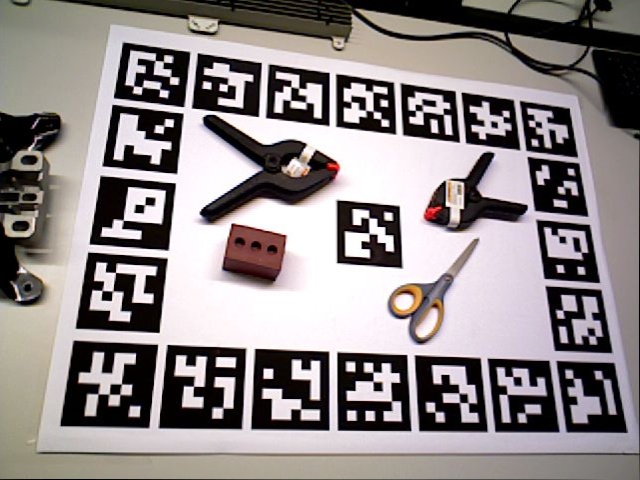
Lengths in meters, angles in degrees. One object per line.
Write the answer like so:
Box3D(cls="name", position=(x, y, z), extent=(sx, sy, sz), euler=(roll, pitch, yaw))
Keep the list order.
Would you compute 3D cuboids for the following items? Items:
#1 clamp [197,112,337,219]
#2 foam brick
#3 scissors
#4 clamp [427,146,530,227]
Box3D(cls="clamp", position=(-0.076, -0.105, 0.783), extent=(0.200, 0.037, 0.164), euler=(1, 69, -13))
Box3D(cls="foam brick", position=(-0.092, 0.020, 0.732), extent=(0.077, 0.052, 0.052), euler=(11, 70, -4))
Box3D(cls="scissors", position=(0.178, 0.064, 0.791), extent=(0.088, 0.016, 0.199), euler=(44, 67, -4))
Box3D(cls="clamp", position=(0.239, -0.068, 0.846), extent=(0.162, 0.037, 0.122), euler=(-23, 85, -18))
